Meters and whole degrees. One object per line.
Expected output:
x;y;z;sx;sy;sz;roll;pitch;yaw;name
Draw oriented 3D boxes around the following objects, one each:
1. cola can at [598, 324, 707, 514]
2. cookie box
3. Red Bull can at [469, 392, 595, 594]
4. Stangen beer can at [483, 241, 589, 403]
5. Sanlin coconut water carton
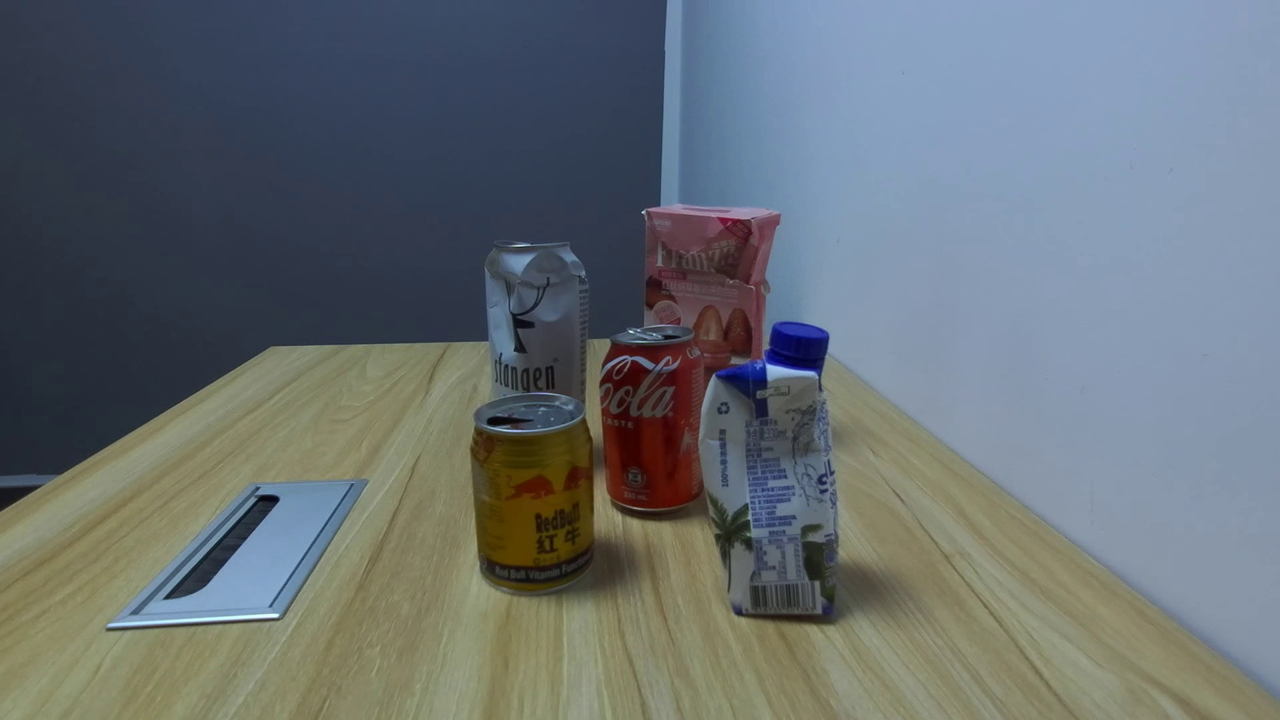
0.011;0.038;0.462;0.072;0.117;0.065;-15;23;-41;cola can
0.054;-0.026;0.563;0.104;0.186;0.059;10;20;33;cookie box
-0.059;0.072;0.393;0.067;0.093;0.067;0;17;0;Red Bull can
-0.075;-0.003;0.519;0.066;0.166;0.065;-11;18;-32;Stangen beer can
0.066;0.053;0.364;0.068;0.144;0.057;-6;9;6;Sanlin coconut water carton
